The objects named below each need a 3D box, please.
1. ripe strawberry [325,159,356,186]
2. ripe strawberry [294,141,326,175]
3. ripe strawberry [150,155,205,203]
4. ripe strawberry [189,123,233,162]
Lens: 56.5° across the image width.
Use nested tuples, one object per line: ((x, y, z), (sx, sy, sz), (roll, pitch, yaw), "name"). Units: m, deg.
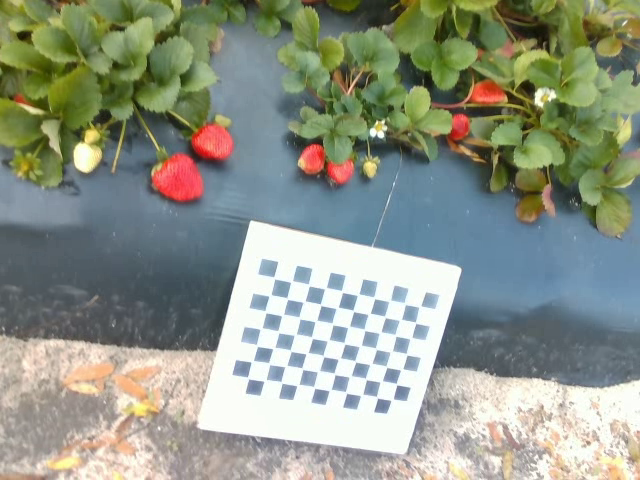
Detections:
((0.025, -0.092, 0.774), (0.043, 0.041, 0.049), (7, 38, -13), "ripe strawberry")
((-0.017, -0.106, 0.774), (0.053, 0.047, 0.038), (-22, 25, -40), "ripe strawberry")
((-0.173, -0.074, 0.720), (0.065, 0.059, 0.043), (44, 6, 0), "ripe strawberry")
((-0.136, -0.123, 0.744), (0.060, 0.051, 0.051), (44, 9, 32), "ripe strawberry")
